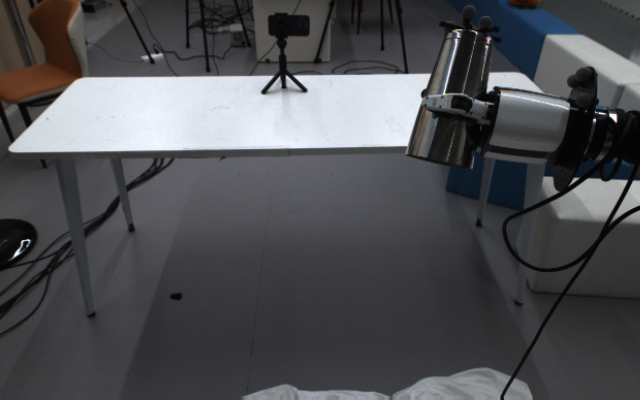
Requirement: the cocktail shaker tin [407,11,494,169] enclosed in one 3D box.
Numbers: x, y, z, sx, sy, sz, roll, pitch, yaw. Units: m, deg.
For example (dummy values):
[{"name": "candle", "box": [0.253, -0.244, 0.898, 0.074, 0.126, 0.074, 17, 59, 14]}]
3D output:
[{"name": "cocktail shaker tin", "box": [0.181, -0.135, 0.654, 0.093, 0.170, 0.093, 13, 4, -1]}]
